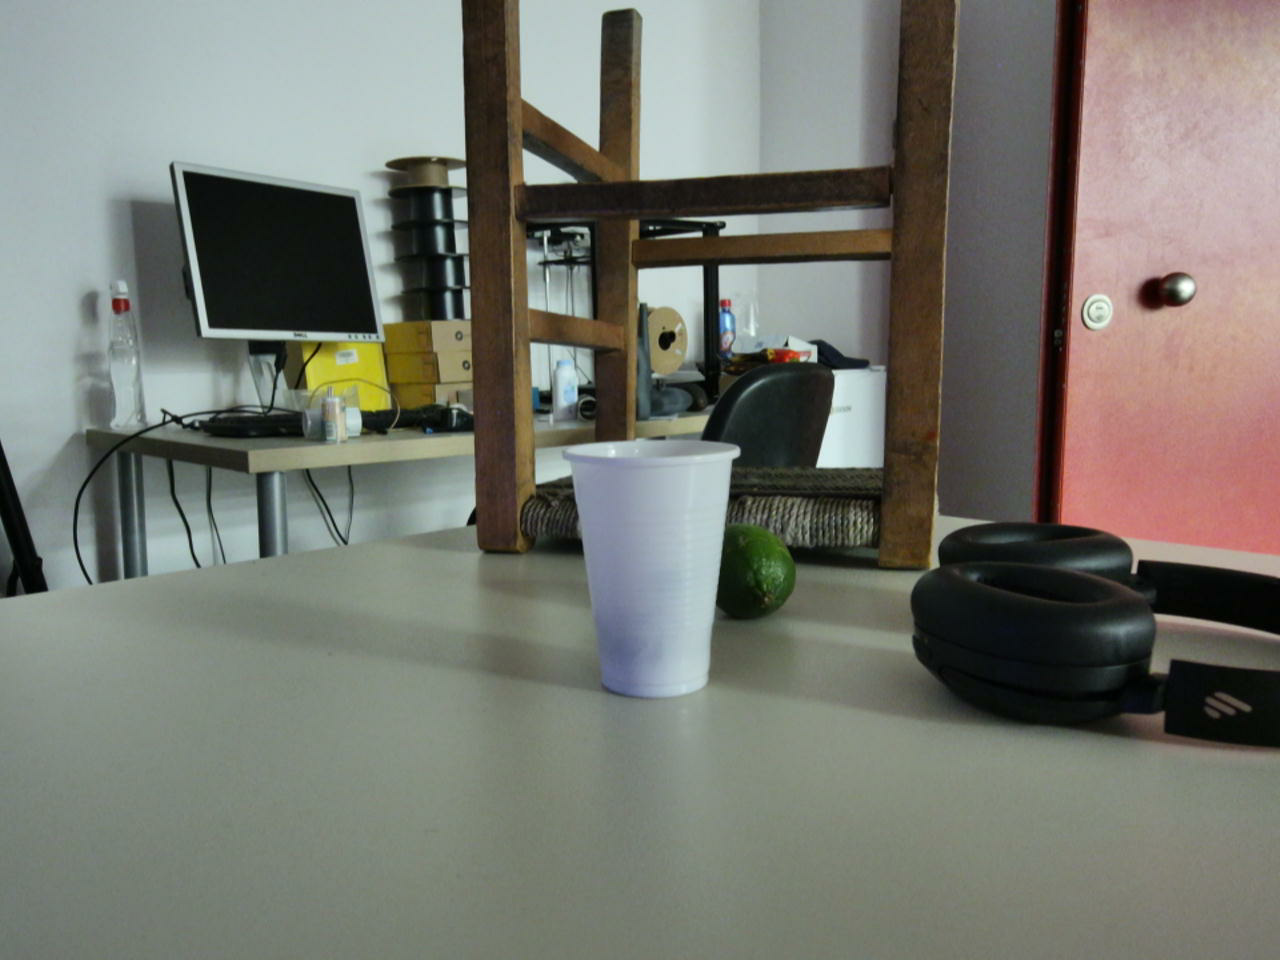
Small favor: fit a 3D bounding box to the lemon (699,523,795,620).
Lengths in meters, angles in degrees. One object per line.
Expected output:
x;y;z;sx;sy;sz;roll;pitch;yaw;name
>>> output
0.060;0.050;0.555;0.057;0.051;0.054;5;8;44;lemon
